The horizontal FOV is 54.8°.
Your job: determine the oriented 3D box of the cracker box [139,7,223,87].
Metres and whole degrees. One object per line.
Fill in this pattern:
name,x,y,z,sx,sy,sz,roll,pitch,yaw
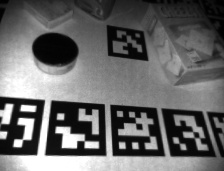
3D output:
cracker box,0.190,-0.112,0.567,0.166,0.072,0.212,-9,62,-23

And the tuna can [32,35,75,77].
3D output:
tuna can,-0.121,-0.062,0.453,0.086,0.033,0.085,7,62,-12

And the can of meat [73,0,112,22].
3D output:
can of meat,-0.049,-0.225,0.556,0.101,0.083,0.058,30,56,4

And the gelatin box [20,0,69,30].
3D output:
gelatin box,-0.161,-0.185,0.521,0.089,0.030,0.074,42,54,7
